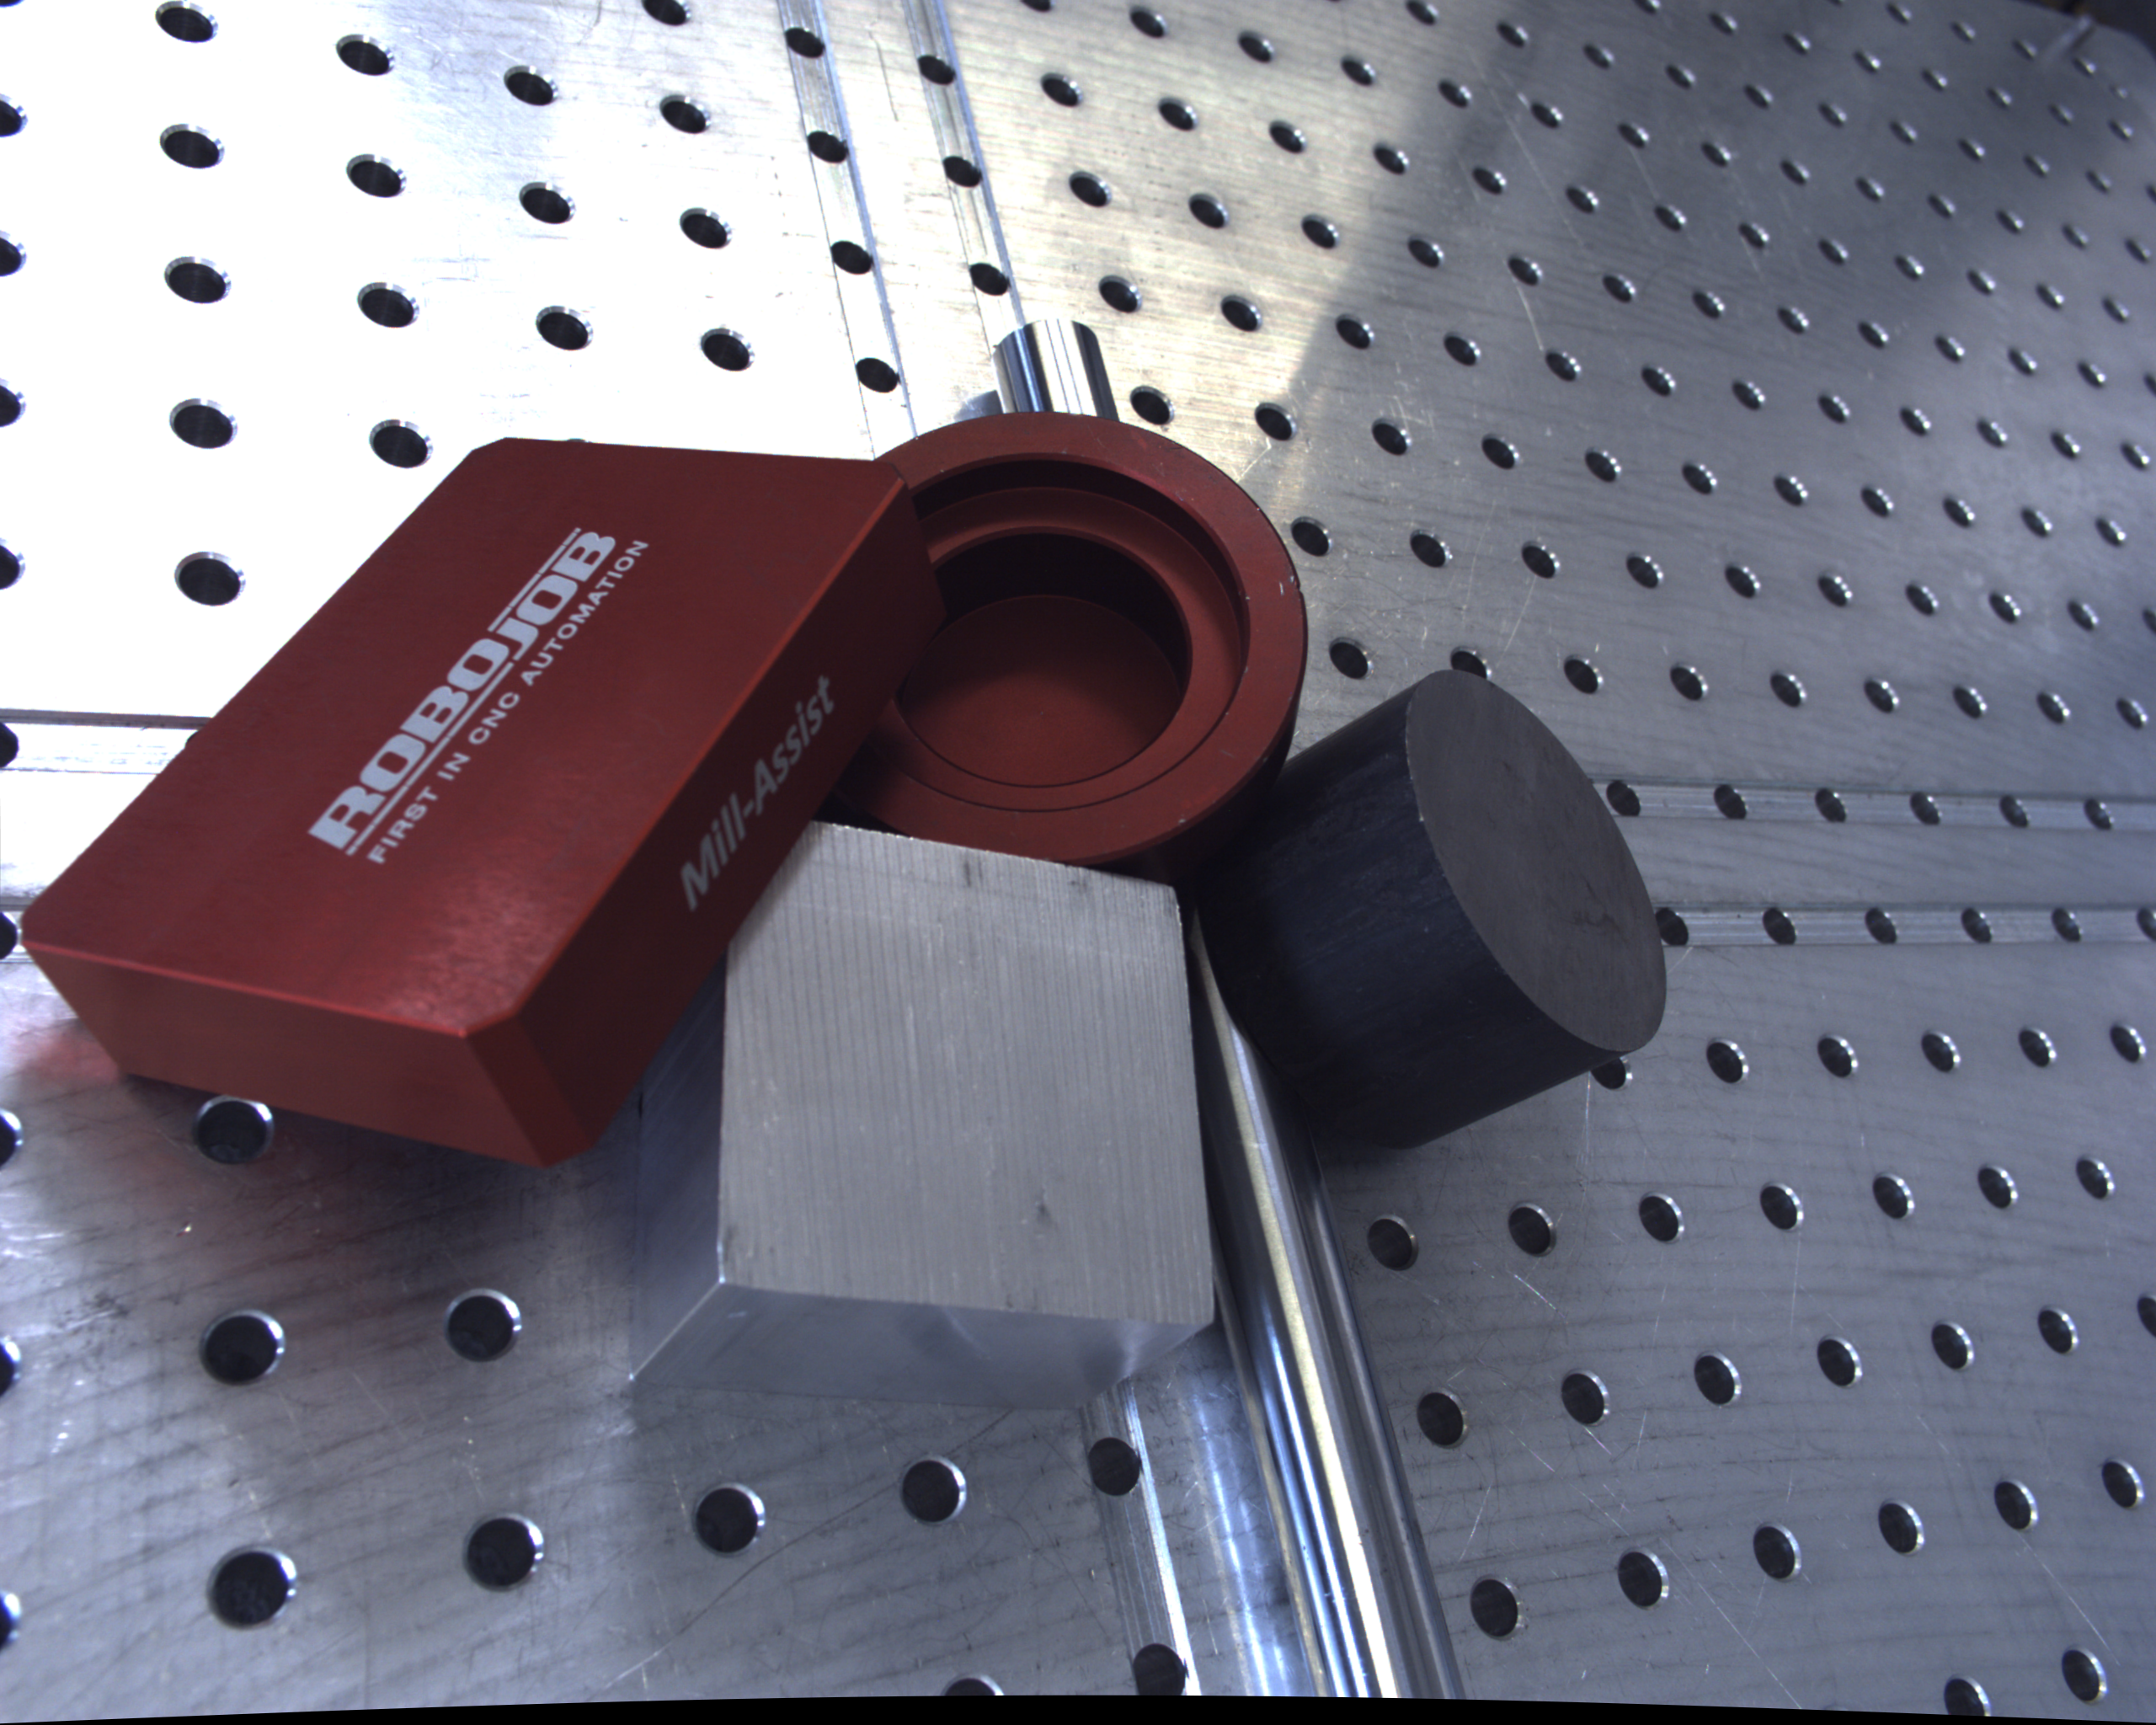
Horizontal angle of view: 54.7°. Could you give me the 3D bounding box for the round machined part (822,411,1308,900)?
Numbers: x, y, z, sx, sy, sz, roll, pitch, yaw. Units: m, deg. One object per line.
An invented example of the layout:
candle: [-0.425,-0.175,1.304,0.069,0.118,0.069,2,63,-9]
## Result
round machined part: [-0.007,-0.035,0.398,0.099,0.042,0.098,0,64,0]

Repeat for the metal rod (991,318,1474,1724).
metal rod: [0.023,0.016,0.411,0.025,0.025,0.299,1,61,-28]

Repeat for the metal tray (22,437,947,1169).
metal tray: [-0.089,-0.018,0.336,0.090,0.030,0.130,8,48,23]

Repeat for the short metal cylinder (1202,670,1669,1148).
short metal cylinder: [0.070,0.009,0.407,0.080,0.050,0.080,31,43,-33]

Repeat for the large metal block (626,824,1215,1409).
large metal block: [-0.028,0.044,0.350,0.081,0.050,0.080,10,58,-23]
